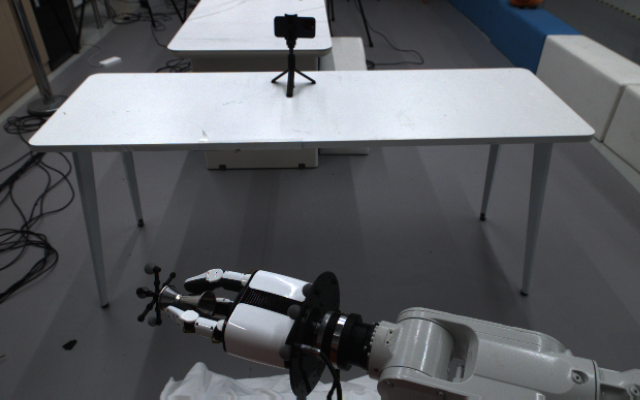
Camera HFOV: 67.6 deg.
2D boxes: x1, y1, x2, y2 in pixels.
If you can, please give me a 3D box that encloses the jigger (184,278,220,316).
[{"bbox_3d":[-0.182,0.141,0.684,0.071,0.043,0.043,6,34,21],"label":"jigger"}]
